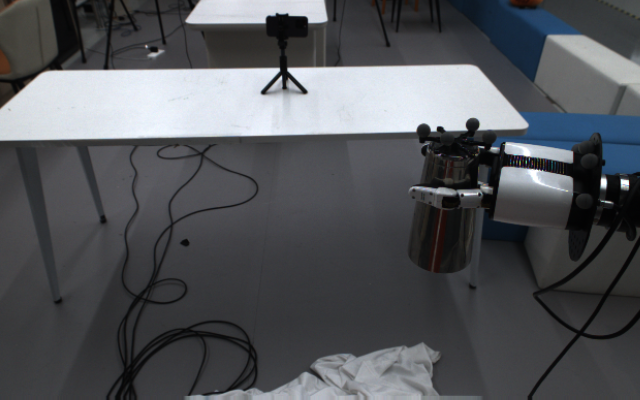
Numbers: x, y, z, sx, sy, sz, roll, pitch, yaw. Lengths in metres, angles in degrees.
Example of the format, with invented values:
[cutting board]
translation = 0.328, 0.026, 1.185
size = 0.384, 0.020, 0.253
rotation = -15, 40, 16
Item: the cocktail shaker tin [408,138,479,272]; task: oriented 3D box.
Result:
[cocktail shaker tin]
translation = 0.177, 0.002, 0.663
size = 0.093, 0.170, 0.093
rotation = -1, 32, 1
